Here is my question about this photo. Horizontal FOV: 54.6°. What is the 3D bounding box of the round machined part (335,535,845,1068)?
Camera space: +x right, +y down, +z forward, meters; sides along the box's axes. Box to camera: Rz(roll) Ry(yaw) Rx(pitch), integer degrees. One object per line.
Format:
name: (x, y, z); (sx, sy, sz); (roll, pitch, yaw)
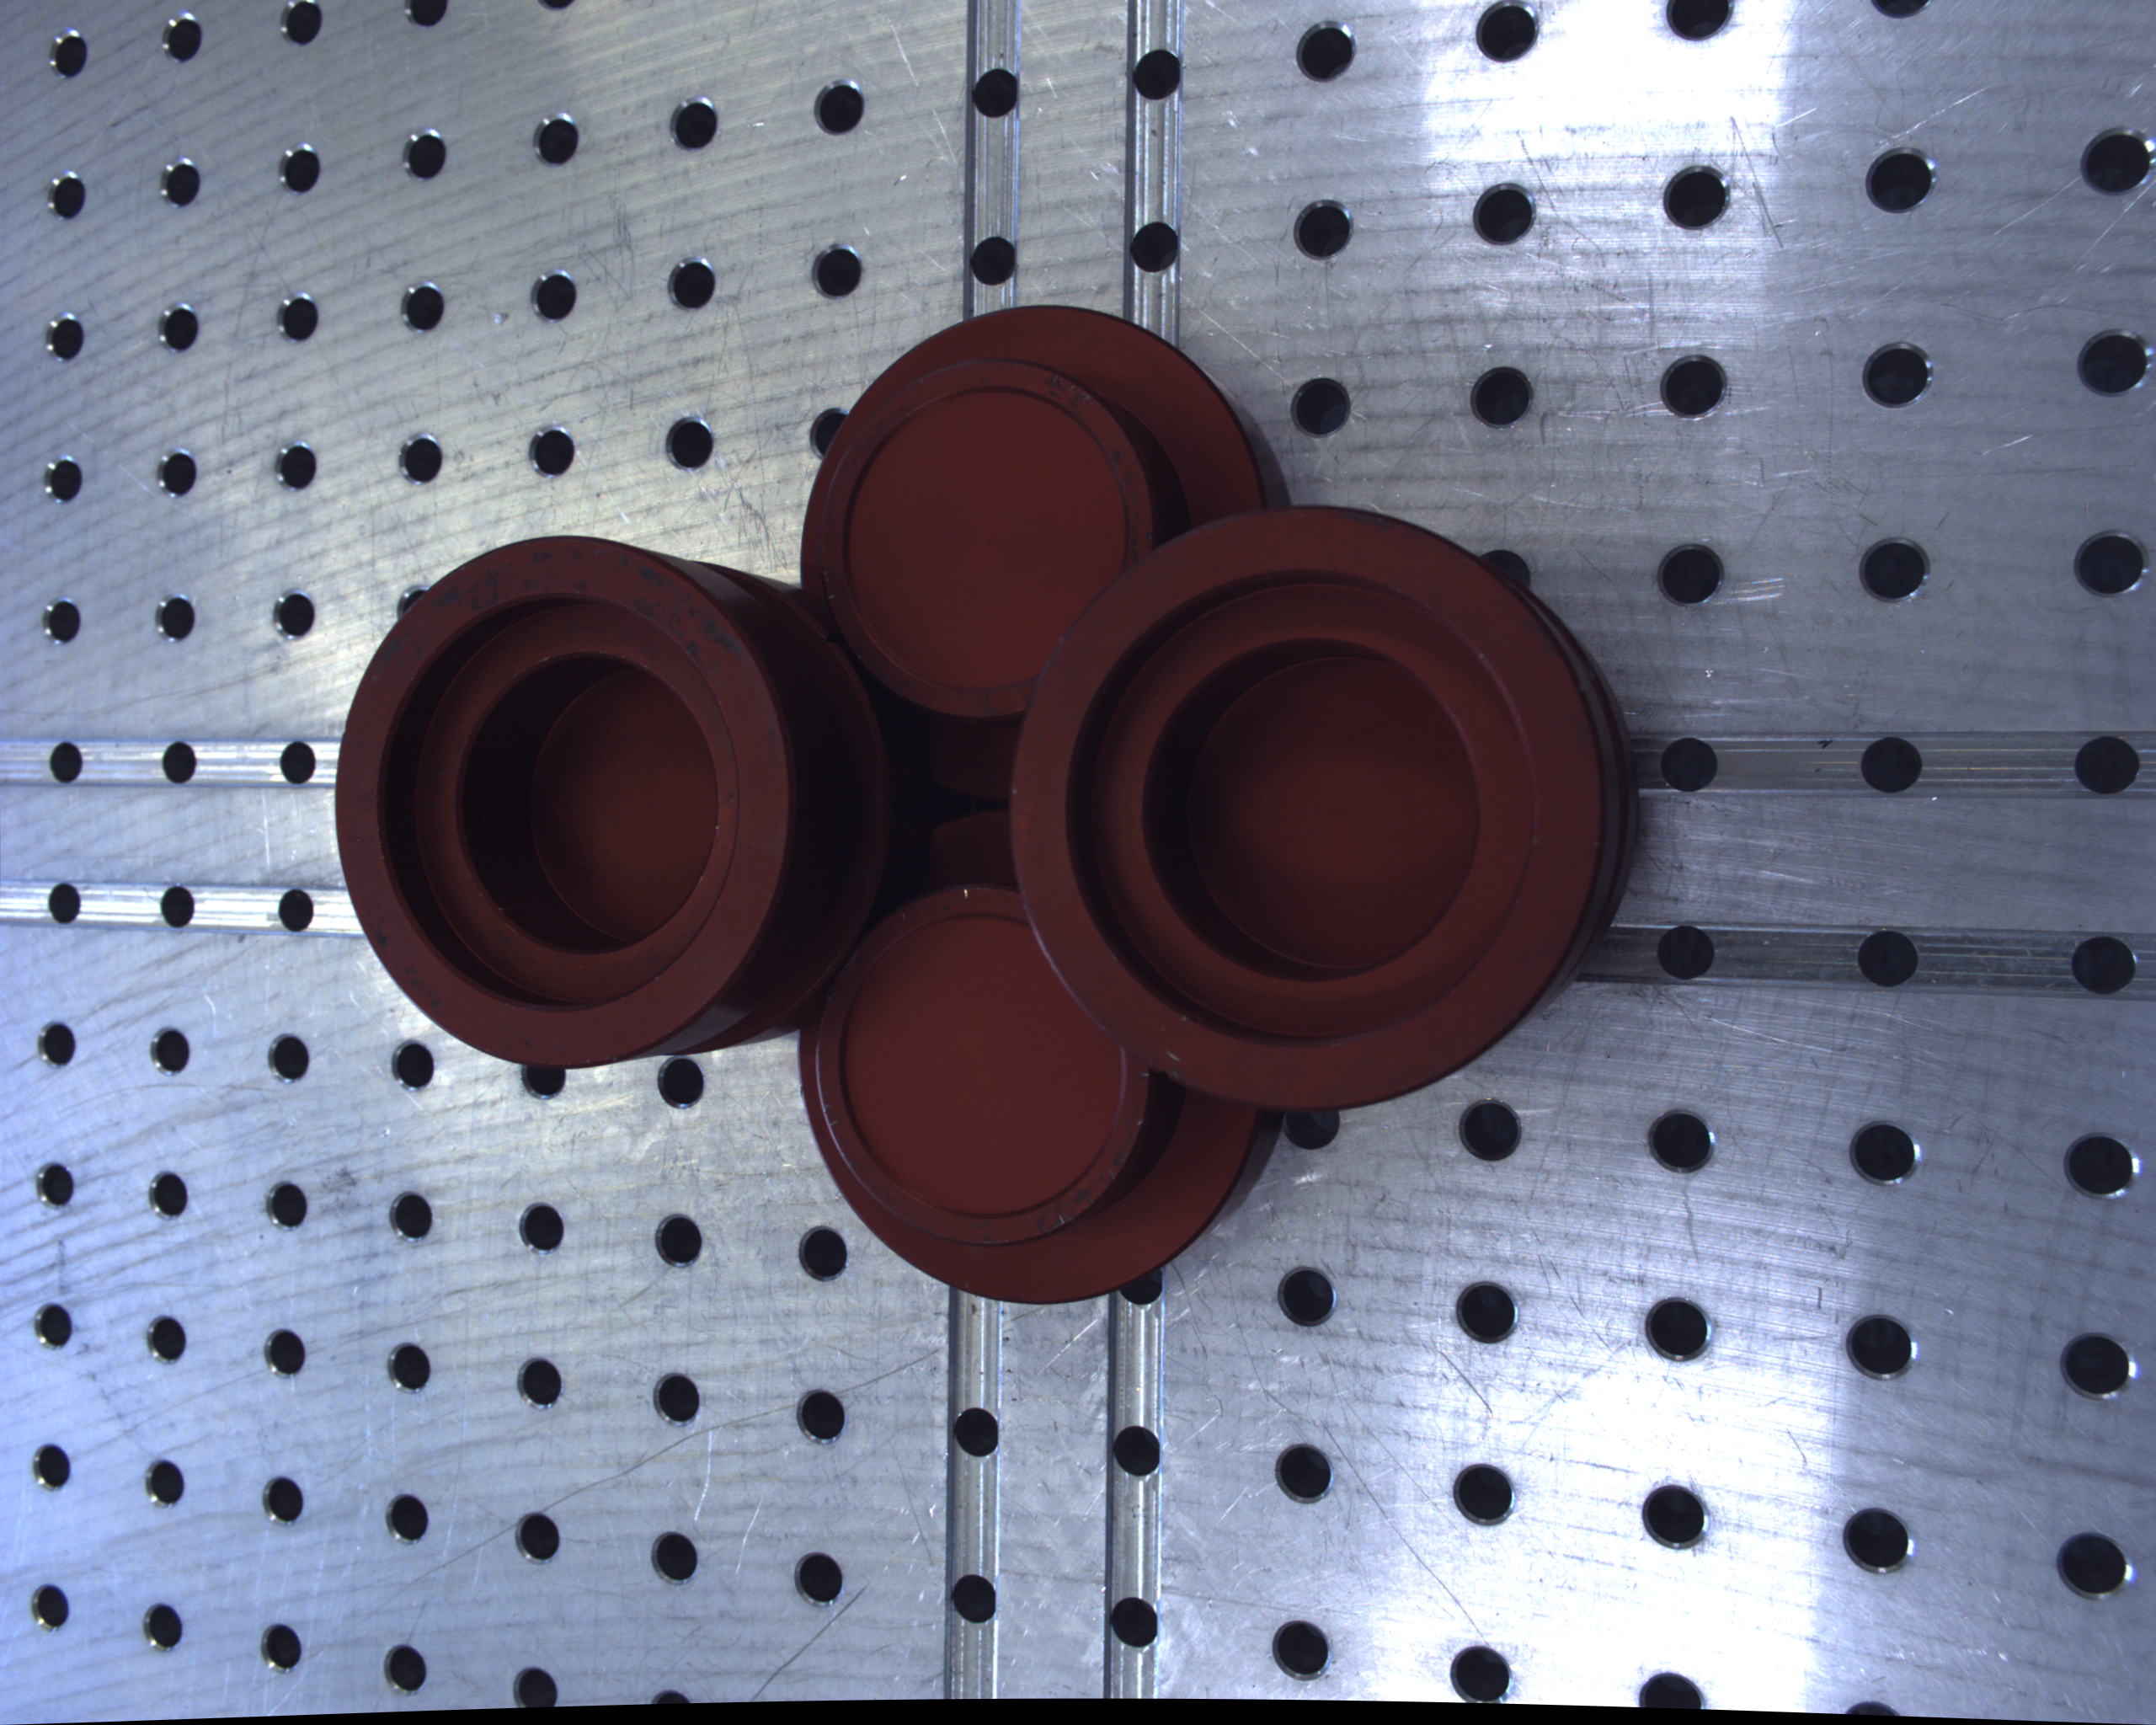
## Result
round machined part: (-0.089, -0.011, 0.401); (0.098, 0.042, 0.097); (0, 90, 20)

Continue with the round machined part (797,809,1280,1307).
round machined part: (-0.011, 0.038, 0.407); (0.098, 0.042, 0.097); (0, 90, 20)

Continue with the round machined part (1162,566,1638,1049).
round machined part: (0.053, -0.010, 0.384); (0.098, 0.042, 0.097); (0, 90, 20)

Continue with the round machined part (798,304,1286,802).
round machined part: (-0.011, -0.060, 0.407); (0.098, 0.042, 0.097); (0, 90, 20)

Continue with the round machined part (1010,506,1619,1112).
round machined part: (0.042, -0.009, 0.354); (0.098, 0.042, 0.097); (0, 90, 20)

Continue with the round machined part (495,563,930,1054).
round machined part: (-0.075, -0.011, 0.430); (0.098, 0.042, 0.097); (0, 90, 20)
